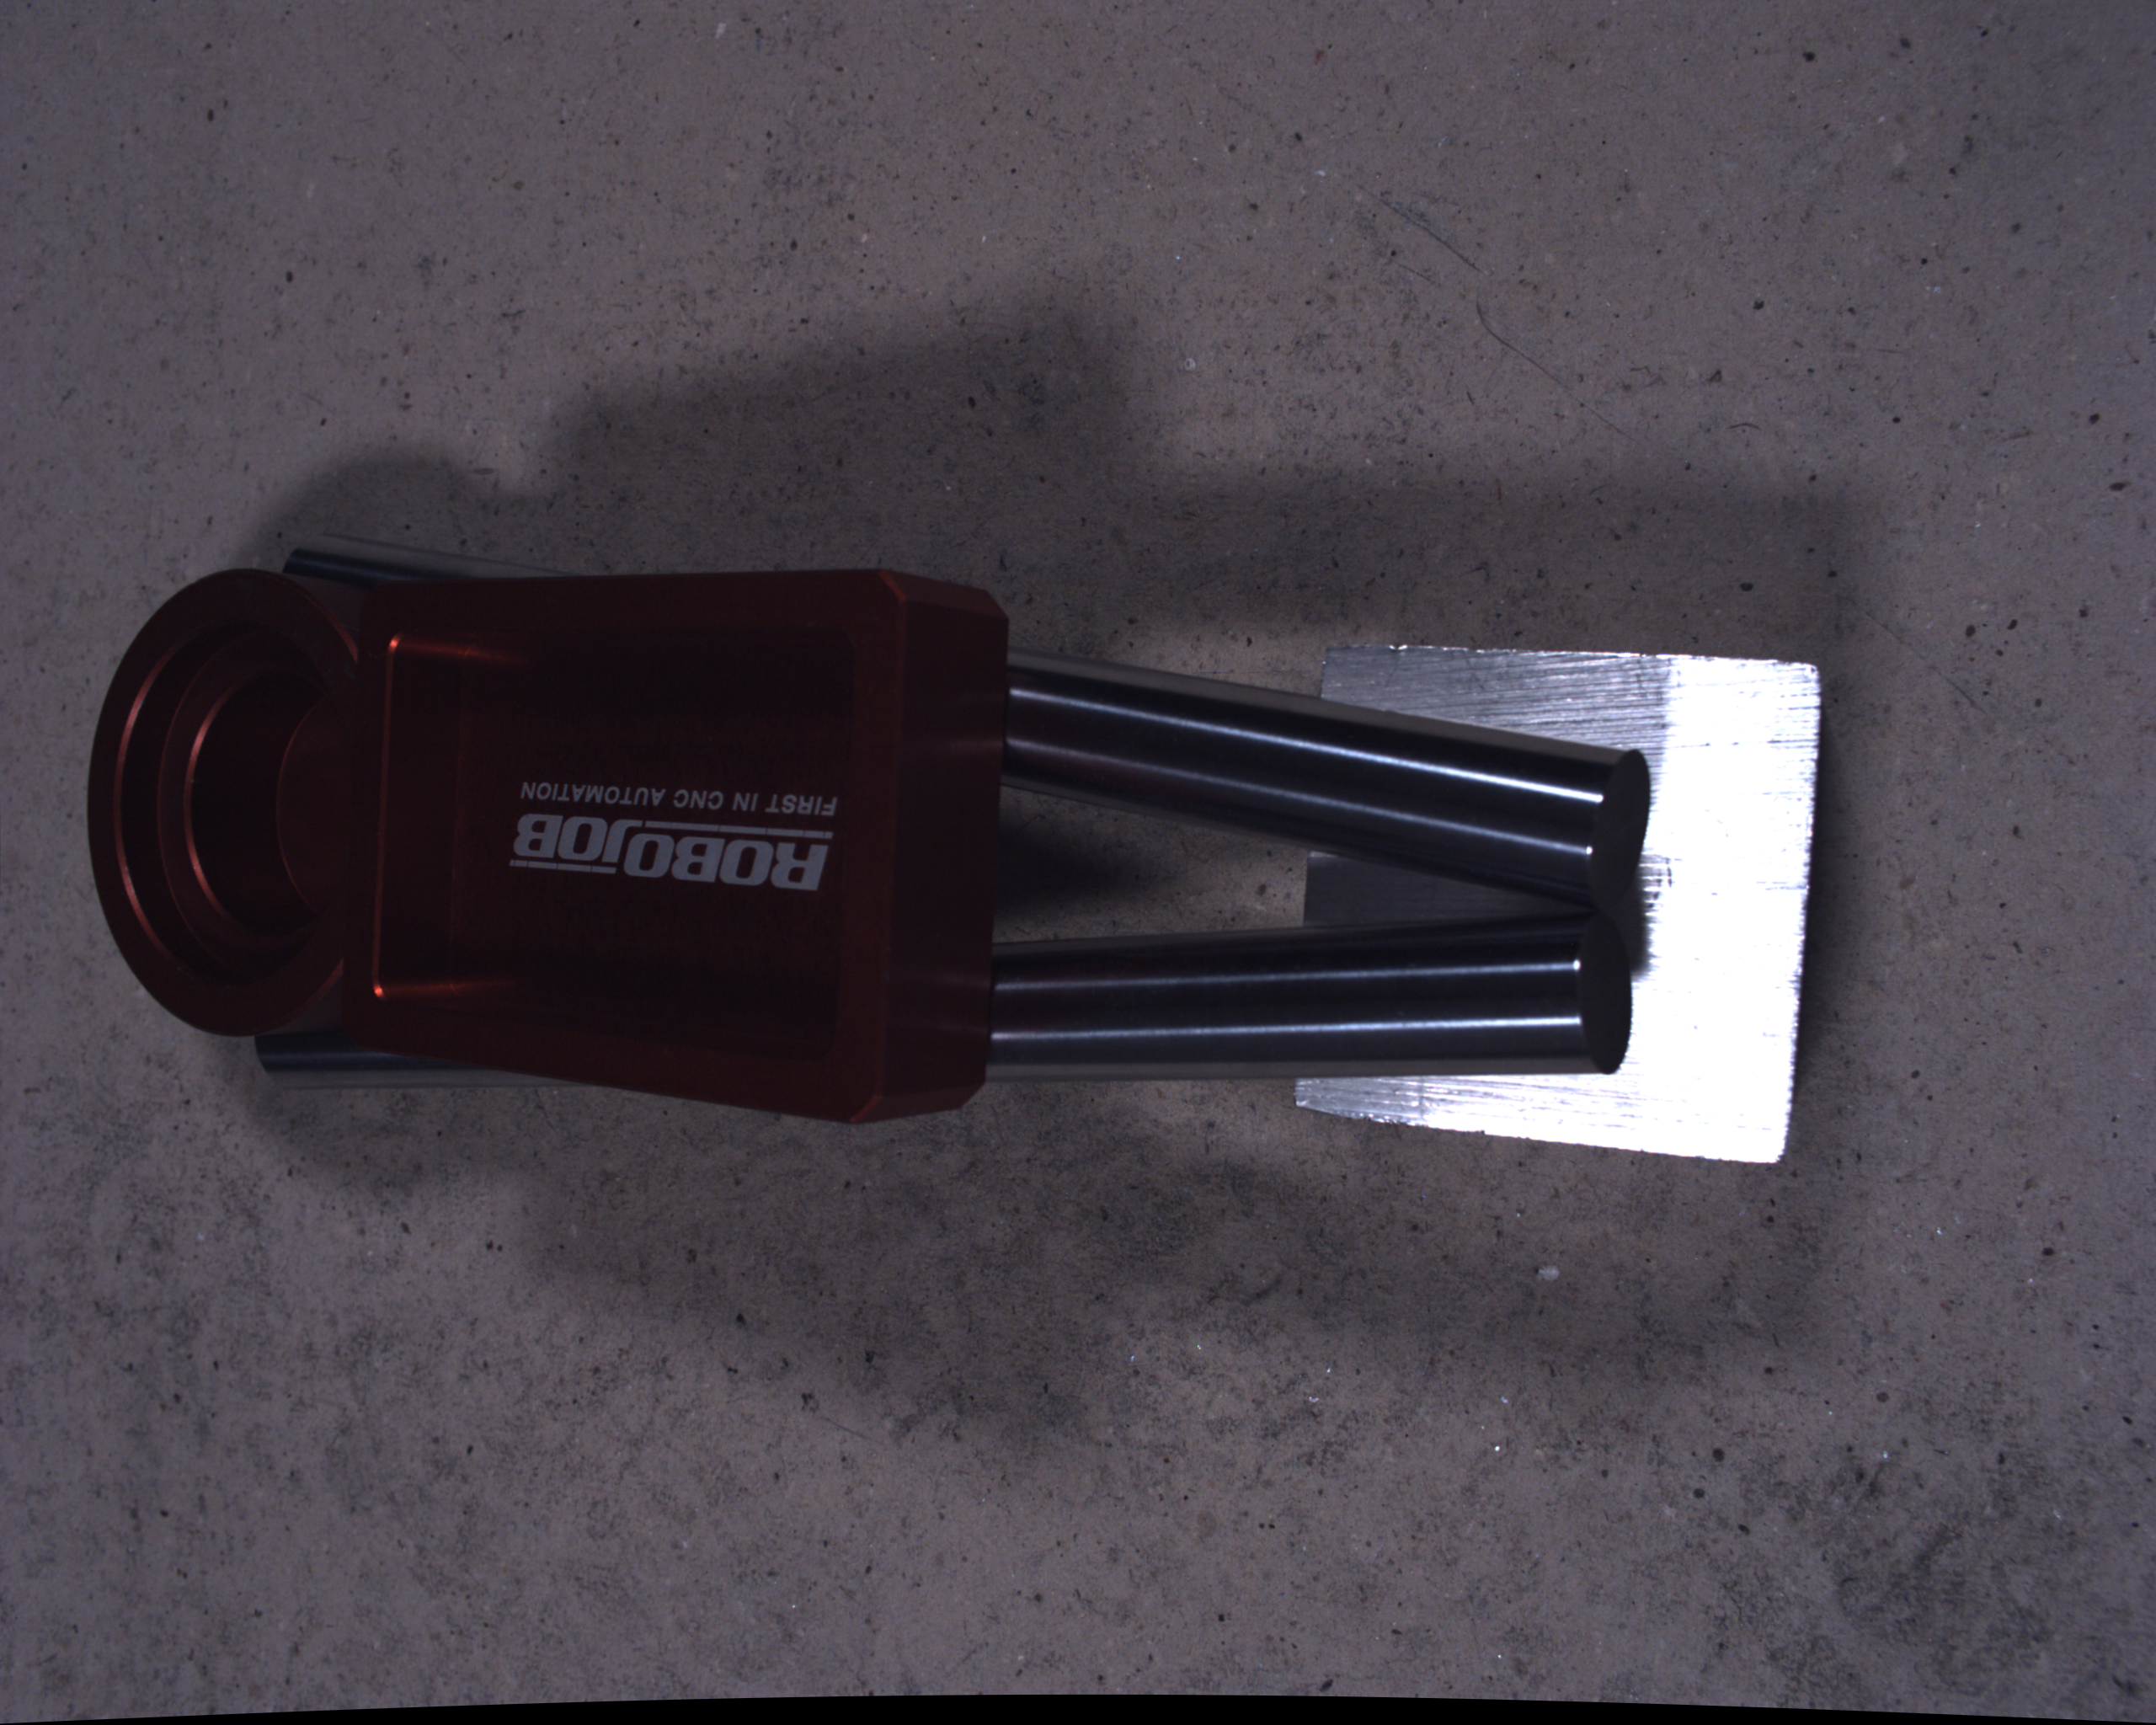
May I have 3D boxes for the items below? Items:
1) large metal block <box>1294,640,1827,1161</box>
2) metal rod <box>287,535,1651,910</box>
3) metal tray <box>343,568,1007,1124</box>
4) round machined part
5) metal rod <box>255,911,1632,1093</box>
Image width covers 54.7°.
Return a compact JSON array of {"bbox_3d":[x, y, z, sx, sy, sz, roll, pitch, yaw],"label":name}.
[{"bbox_3d":[0.086,0.005,0.365,0.080,0.050,0.079,4,91,19],"label":"large metal block"},{"bbox_3d":[-0.044,-0.033,0.390,0.300,0.025,0.025,13,94,32],"label":"metal rod"},{"bbox_3d":[-0.077,-0.006,0.378,0.130,0.030,0.089,4,91,32],"label":"metal tray"},{"bbox_3d":[-0.165,-0.013,0.452,0.098,0.042,0.097,0,89,30],"label":"round machined part"},{"bbox_3d":[-0.048,0.030,0.392,0.300,0.025,0.025,-5,89,32],"label":"metal rod"}]
